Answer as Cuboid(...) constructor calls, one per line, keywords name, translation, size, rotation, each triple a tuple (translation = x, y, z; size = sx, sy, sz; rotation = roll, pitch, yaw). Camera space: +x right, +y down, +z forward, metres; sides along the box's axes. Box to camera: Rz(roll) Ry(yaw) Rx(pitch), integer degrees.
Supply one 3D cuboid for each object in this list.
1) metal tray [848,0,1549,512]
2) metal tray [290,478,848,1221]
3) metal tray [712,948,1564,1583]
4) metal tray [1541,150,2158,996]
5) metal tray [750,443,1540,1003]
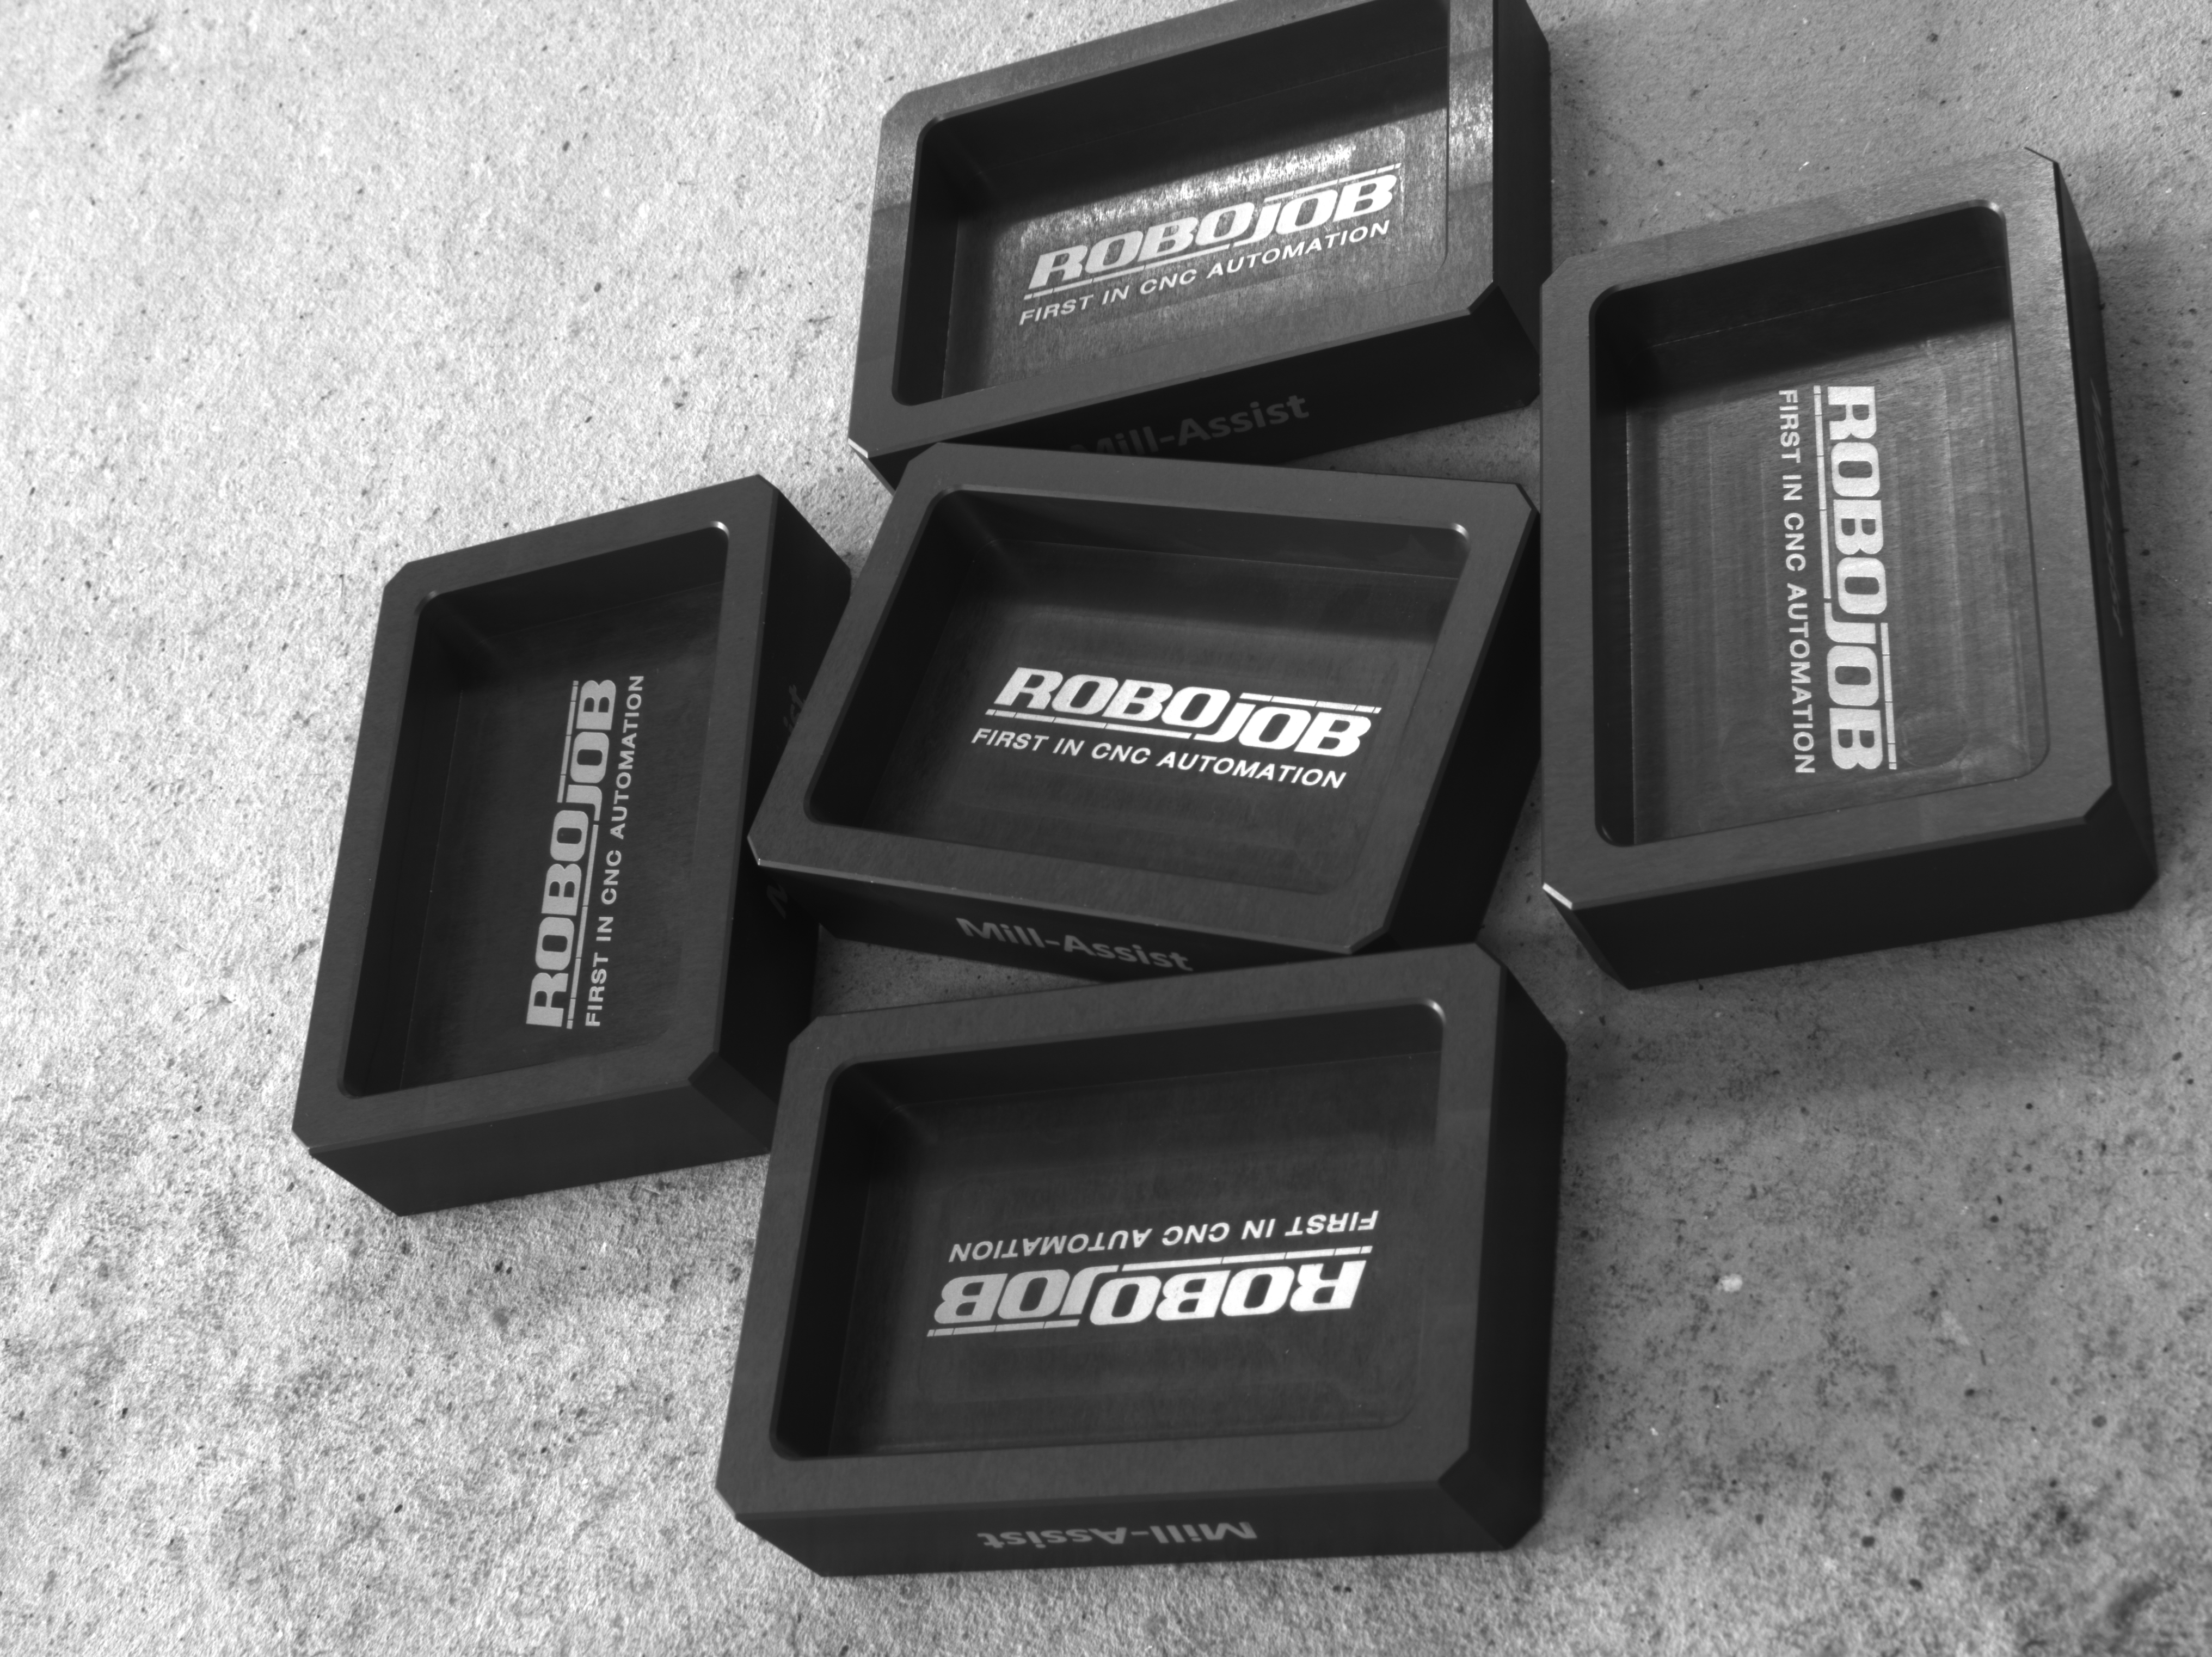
Cuboid(name="metal tray", translation=(0.018, -0.111, 0.702), size=(0.130, 0.030, 0.090), rotation=(-11, 57, 23))
Cuboid(name="metal tray", translation=(-0.099, 0.003, 0.694), size=(0.090, 0.030, 0.130), rotation=(-11, 57, 23))
Cuboid(name="metal tray", translation=(0.005, 0.072, 0.595), size=(0.130, 0.030, 0.090), rotation=(-8, 58, 25))
Cuboid(name="metal tray", translation=(0.119, -0.043, 0.605), size=(0.090, 0.030, 0.130), rotation=(-11, 57, 24))
Cuboid(name="metal tray", translation=(0.010, -0.019, 0.649), size=(0.130, 0.030, 0.090), rotation=(8, 67, 32))
